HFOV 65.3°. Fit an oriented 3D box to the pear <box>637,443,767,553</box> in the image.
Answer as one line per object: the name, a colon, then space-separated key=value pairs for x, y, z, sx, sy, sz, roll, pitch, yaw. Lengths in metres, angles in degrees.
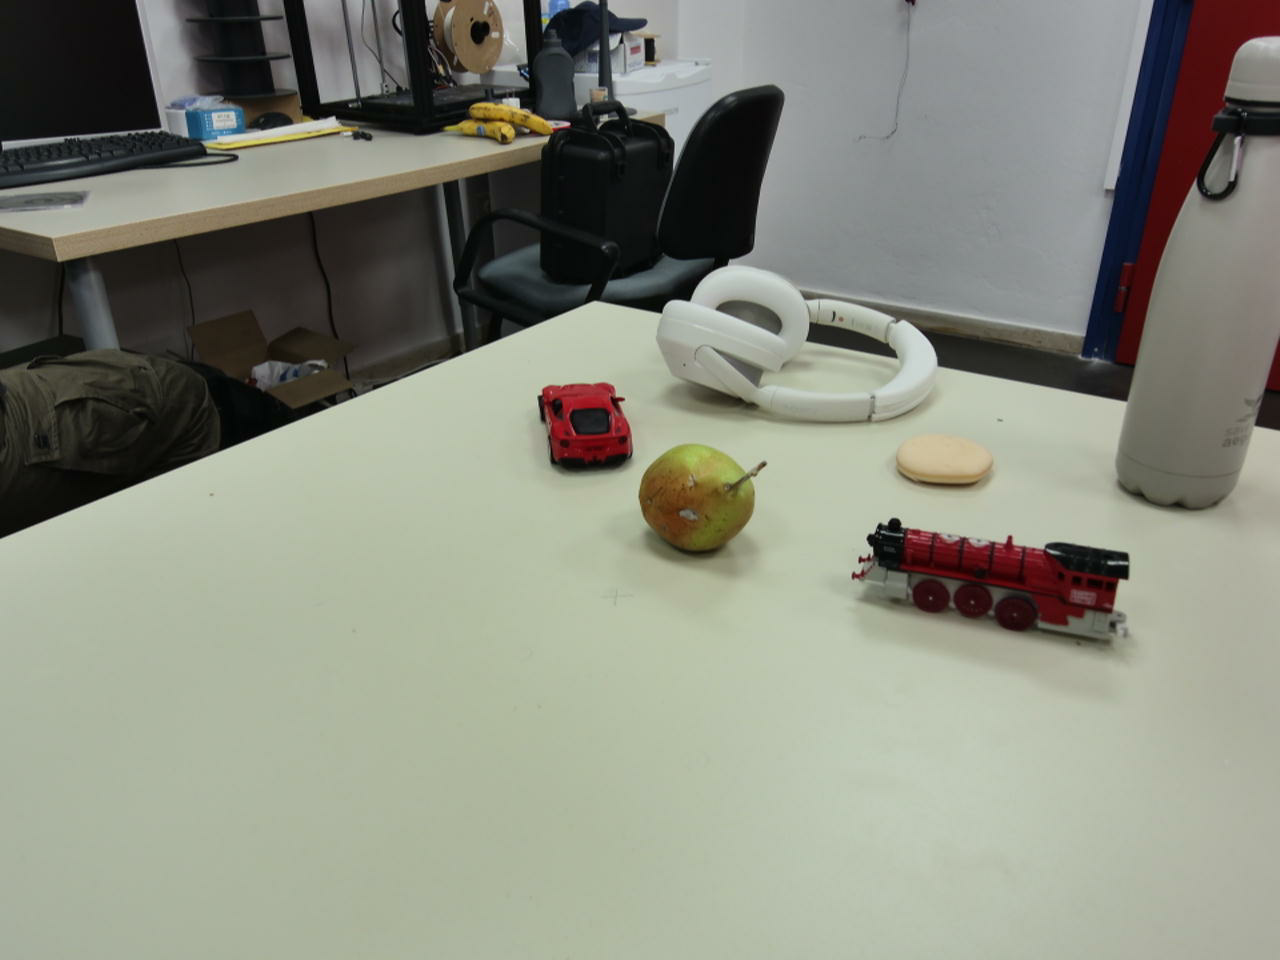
pear: x=0.033 y=0.008 z=0.593 sx=0.068 sy=0.069 sz=0.070 roll=0 pitch=25 yaw=-2
